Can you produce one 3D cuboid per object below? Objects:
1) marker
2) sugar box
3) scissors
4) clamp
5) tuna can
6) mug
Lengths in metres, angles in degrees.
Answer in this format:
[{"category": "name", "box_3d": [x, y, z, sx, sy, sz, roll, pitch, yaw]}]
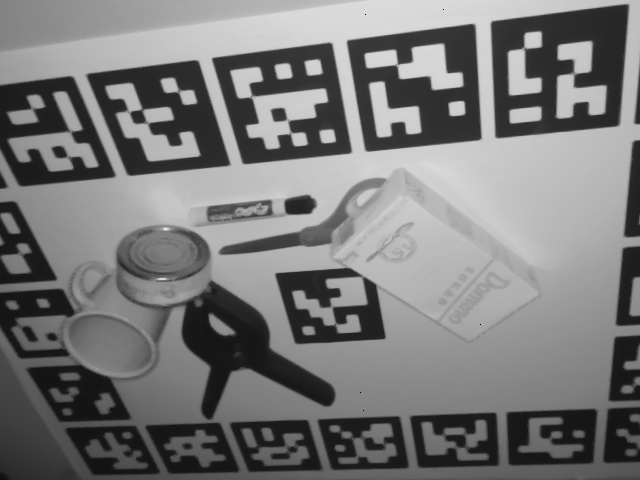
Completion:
[{"category": "marker", "box_3d": [-0.036, -0.033, 0.647, 0.120, 0.020, 0.019, -10, 121, 12]}, {"category": "sugar box", "box_3d": [0.123, 0.014, 0.637, 0.177, 0.046, 0.091, 35, 121, -23]}, {"category": "scissors", "box_3d": [0.017, -0.002, 0.658, 0.201, 0.016, 0.087, -15, 124, 18]}, {"category": "clamp", "box_3d": [-0.068, 0.121, 0.754, 0.164, 0.037, 0.202, -16, 119, 17]}, {"category": "tuna can", "box_3d": [-0.132, 0.025, 0.656, 0.086, 0.086, 0.033, 8, 124, 2]}, {"category": "mug", "box_3d": [-0.178, 0.072, 0.699, 0.092, 0.082, 0.117, -32, 118, 25]}]
